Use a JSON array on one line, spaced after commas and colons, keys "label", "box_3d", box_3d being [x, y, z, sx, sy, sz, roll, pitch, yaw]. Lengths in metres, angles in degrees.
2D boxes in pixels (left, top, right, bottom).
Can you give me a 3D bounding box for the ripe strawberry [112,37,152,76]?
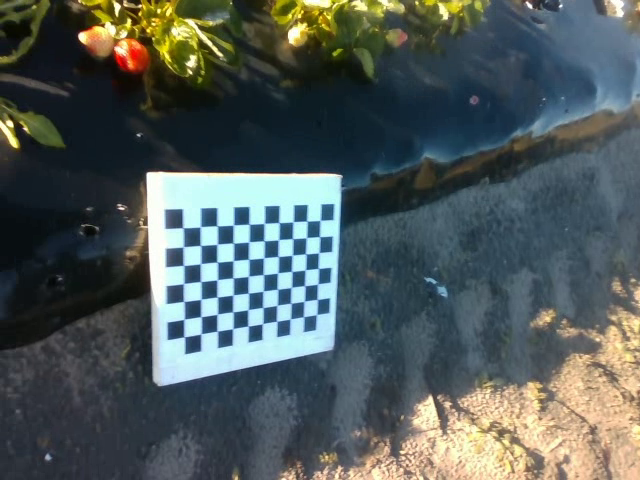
[{"label": "ripe strawberry", "box_3d": [-0.195, -0.193, 0.702, 0.040, 0.038, 0.056, -15, 23, -7]}]
